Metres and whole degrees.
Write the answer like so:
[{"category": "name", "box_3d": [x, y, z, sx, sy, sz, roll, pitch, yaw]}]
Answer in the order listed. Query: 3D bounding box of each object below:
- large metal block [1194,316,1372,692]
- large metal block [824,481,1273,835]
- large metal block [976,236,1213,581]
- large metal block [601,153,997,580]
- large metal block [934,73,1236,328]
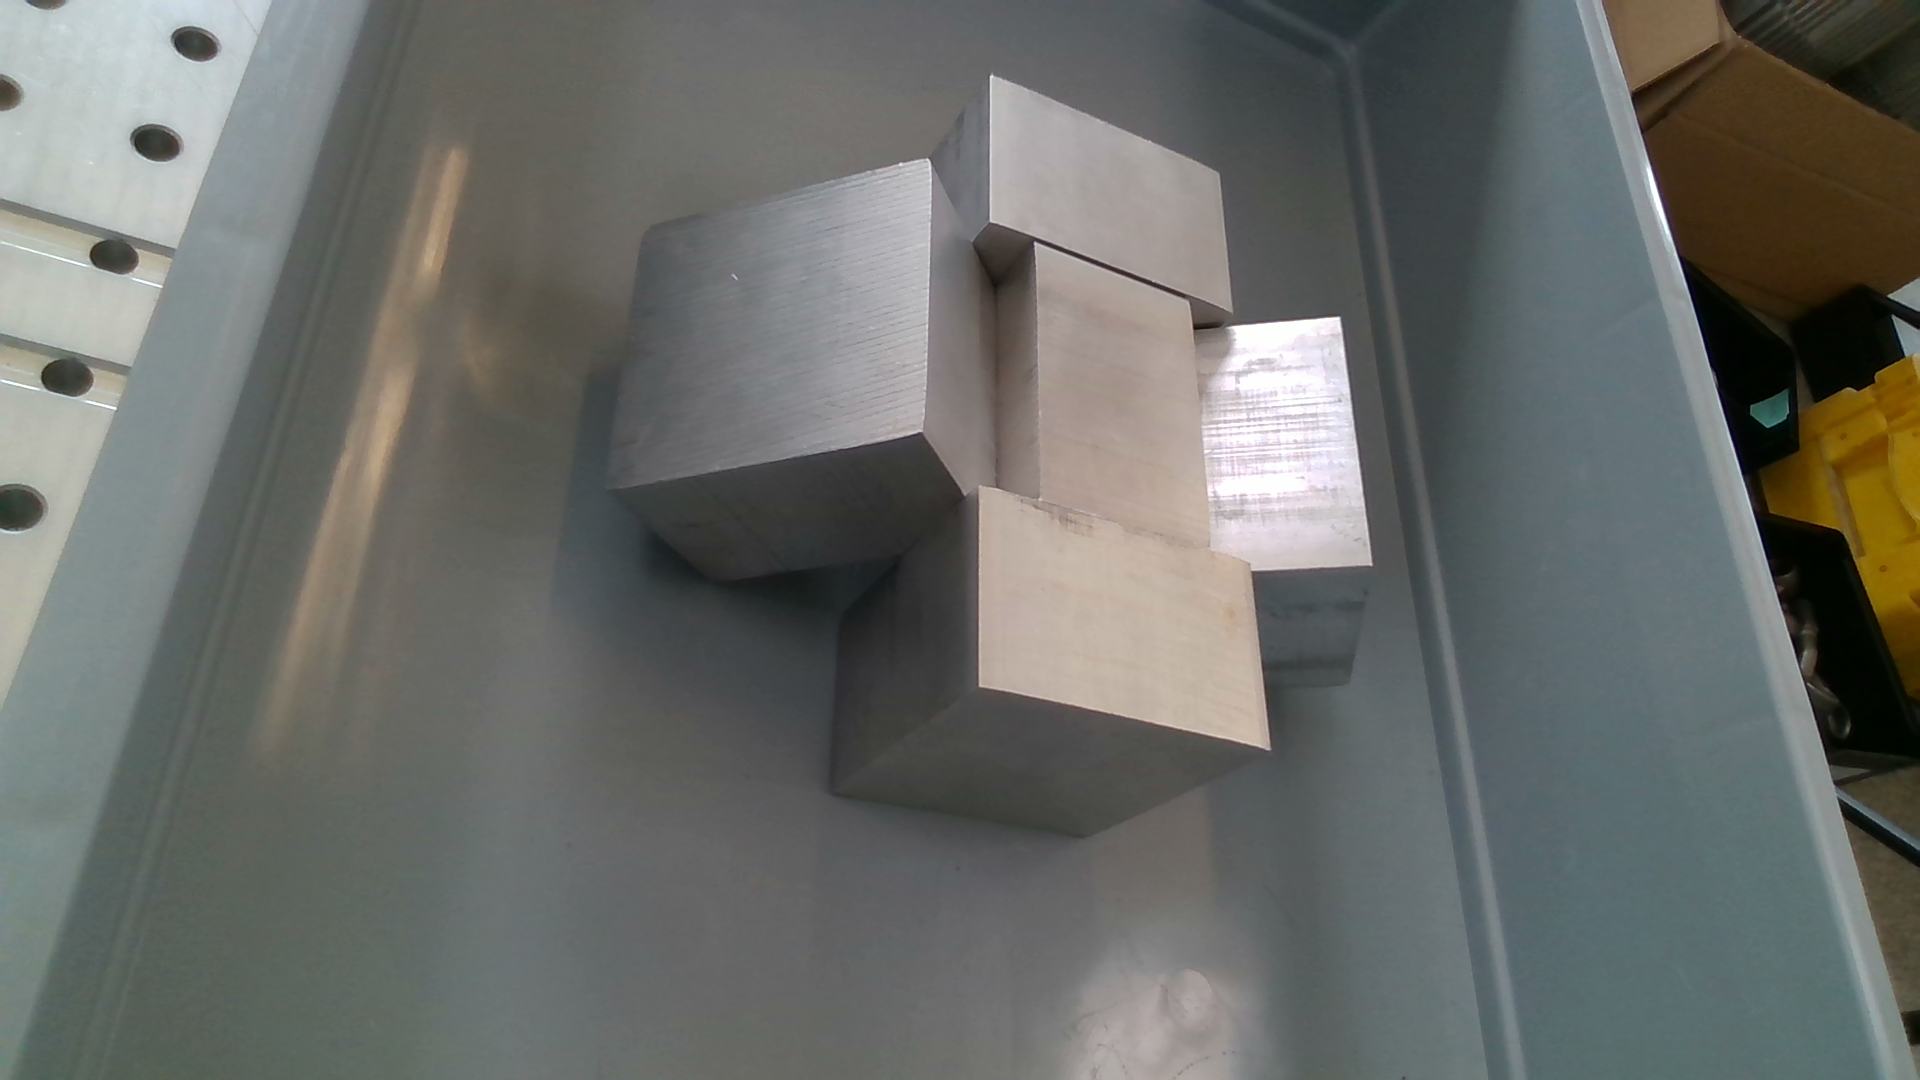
[{"category": "large metal block", "box_3d": [0.087, -0.008, 0.407, 0.050, 0.080, 0.080, -3, 61, 9]}, {"category": "large metal block", "box_3d": [0.020, 0.035, 0.350, 0.080, 0.080, 0.050, 15, 58, -24]}, {"category": "large metal block", "box_3d": [0.022, -0.022, 0.382, 0.050, 0.080, 0.080, 15, 58, -24]}, {"category": "large metal block", "box_3d": [-0.037, -0.042, 0.348, 0.050, 0.080, 0.080, 53, 34, -56]}, {"category": "large metal block", "box_3d": [0.024, -0.080, 0.415, 0.080, 0.080, 0.050, 15, 58, -25]}]
